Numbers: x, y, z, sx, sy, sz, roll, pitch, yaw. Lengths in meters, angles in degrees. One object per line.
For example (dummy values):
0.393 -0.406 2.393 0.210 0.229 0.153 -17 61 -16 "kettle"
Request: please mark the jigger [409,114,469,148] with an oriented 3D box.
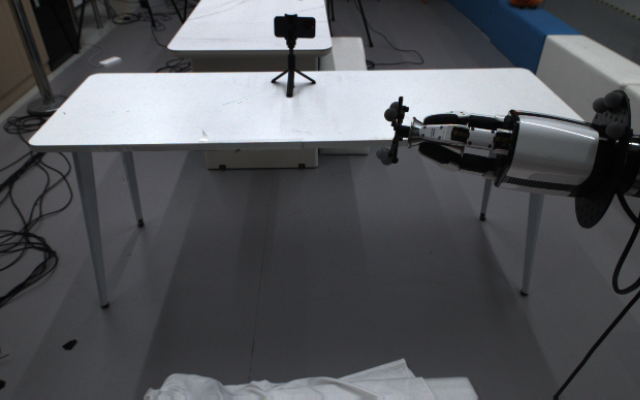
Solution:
0.150 -0.086 0.607 0.071 0.043 0.043 10 35 16 "jigger"
